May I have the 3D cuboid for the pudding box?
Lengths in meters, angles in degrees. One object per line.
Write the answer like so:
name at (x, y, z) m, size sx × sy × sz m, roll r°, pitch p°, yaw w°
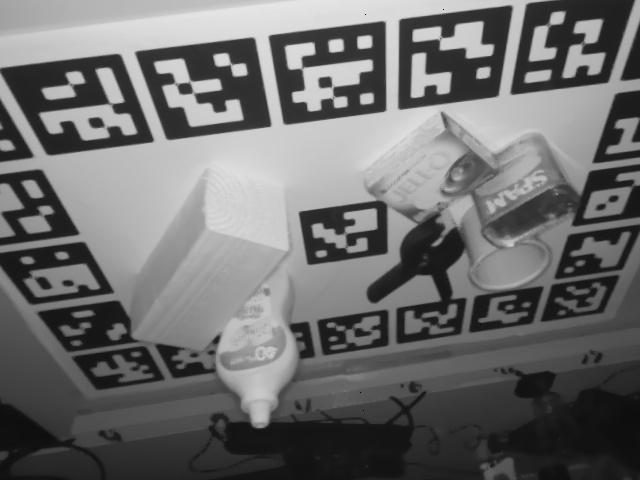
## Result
pudding box at (0.119, -0.072, 0.720) m, size 0.112 × 0.039 × 0.091 m, roll -36°, pitch 130°, yaw 28°

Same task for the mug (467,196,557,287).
mug at (0.216, 0.002, 0.818) m, size 0.094 × 0.082 × 0.115 m, roll 8°, pitch 133°, yaw -17°

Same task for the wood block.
wood block at (-0.123, 0.021, 0.746) m, size 0.091 × 0.091 × 0.203 m, roll 19°, pitch 133°, yaw -29°

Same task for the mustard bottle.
mustard bottle at (-0.067, 0.125, 0.785) m, size 0.096 × 0.192 × 0.058 m, roll -11°, pitch 136°, yaw 2°

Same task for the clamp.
clamp at (0.137, 0.036, 0.847) m, size 0.123 × 0.037 × 0.163 m, roll 7°, pitch 133°, yaw -14°

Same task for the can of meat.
can of meat at (0.221, -0.050, 0.720) m, size 0.101 × 0.084 × 0.058 m, roll -29°, pitch 132°, yaw 21°
